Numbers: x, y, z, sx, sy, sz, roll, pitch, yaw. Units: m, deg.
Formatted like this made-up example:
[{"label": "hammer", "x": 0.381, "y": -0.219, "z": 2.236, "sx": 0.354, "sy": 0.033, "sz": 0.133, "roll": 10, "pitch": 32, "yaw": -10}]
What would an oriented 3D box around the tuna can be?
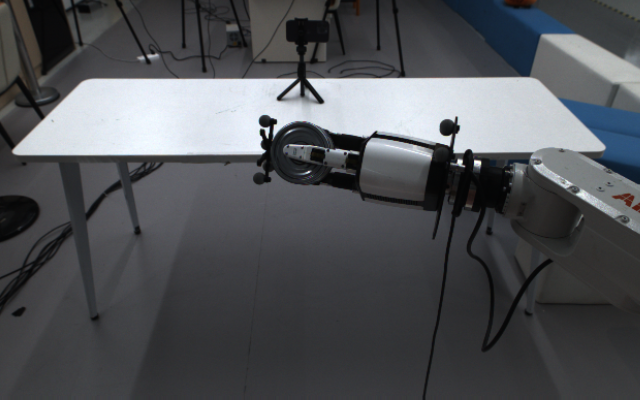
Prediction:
[{"label": "tuna can", "x": -0.023, "y": -0.066, "z": 0.660, "sx": 0.085, "sy": 0.085, "sz": 0.034, "roll": 10, "pitch": 2, "yaw": 11}]
